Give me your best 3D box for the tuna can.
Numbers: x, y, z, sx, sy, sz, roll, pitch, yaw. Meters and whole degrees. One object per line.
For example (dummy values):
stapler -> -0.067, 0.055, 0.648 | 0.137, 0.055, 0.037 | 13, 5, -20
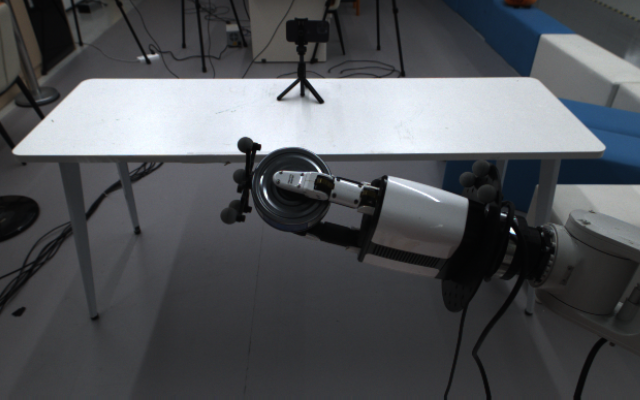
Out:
tuna can -> -0.025, -0.008, 0.506 | 0.085, 0.034, 0.085 | 2, 73, -5
